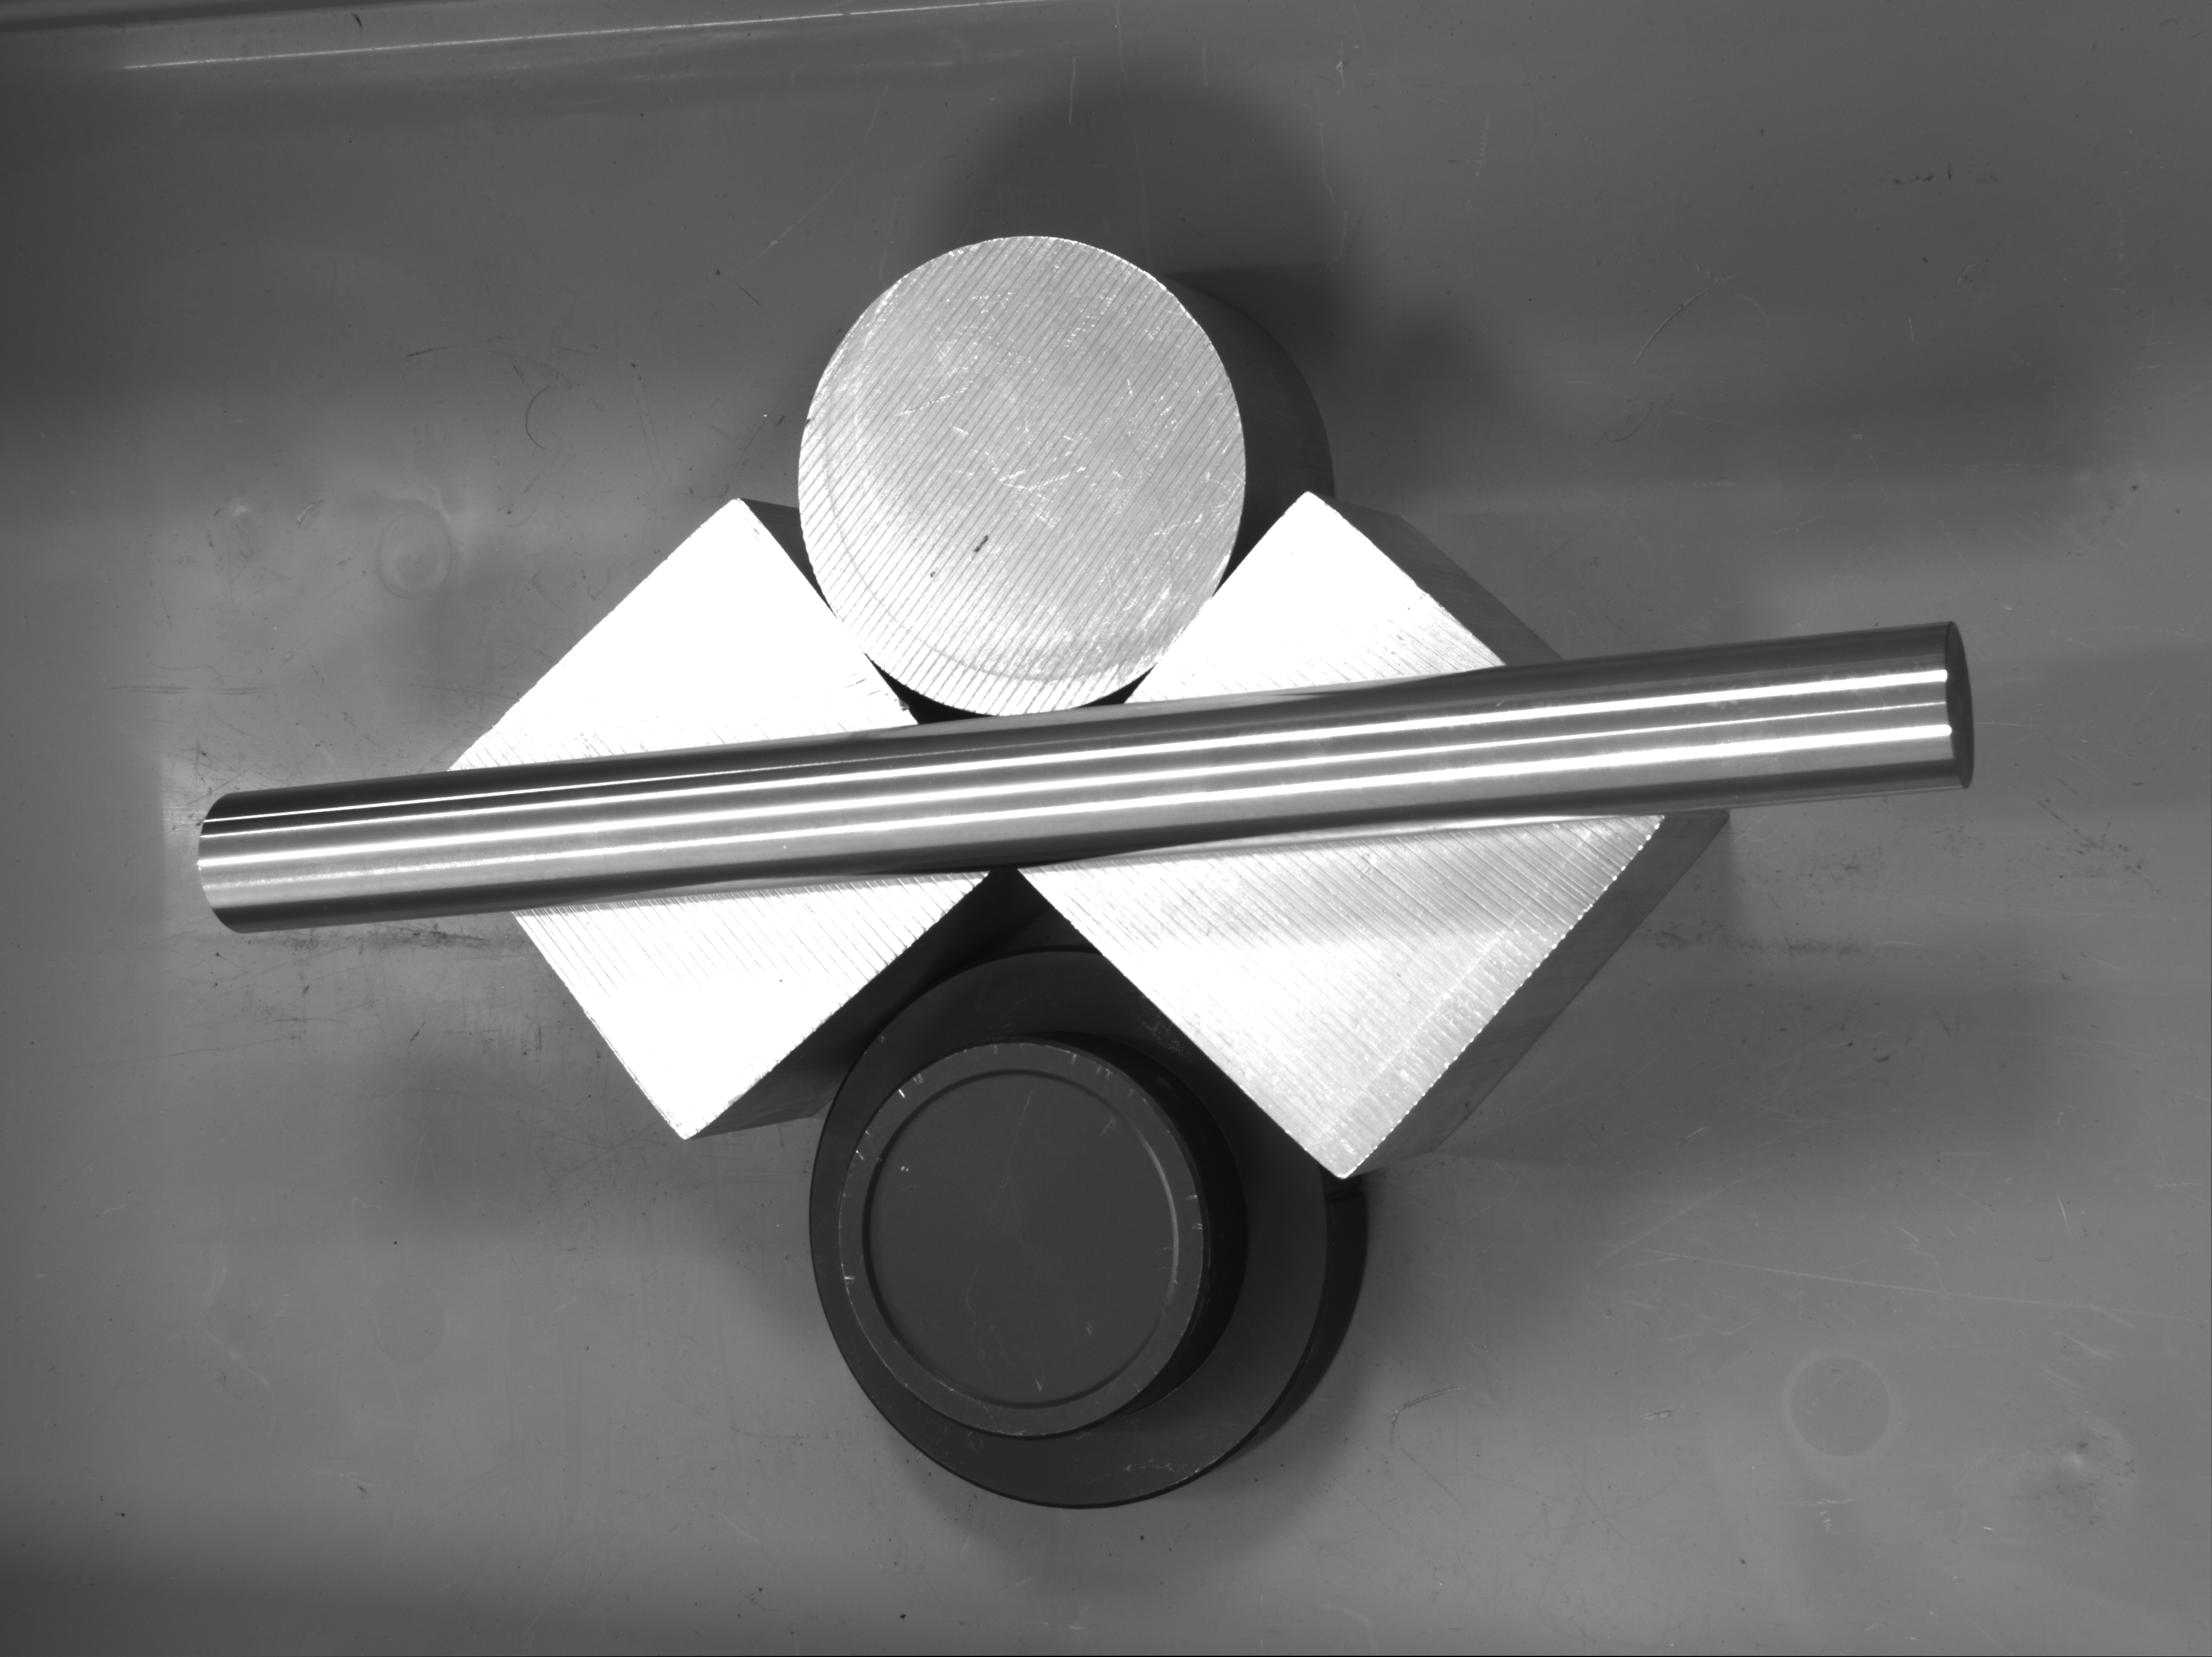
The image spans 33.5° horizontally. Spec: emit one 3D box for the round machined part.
[{"bbox_3d":[-0.008,0.070,0.639,0.098,0.042,0.098,0,90,20],"label":"round machined part"}]

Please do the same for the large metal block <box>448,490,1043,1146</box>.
[{"bbox_3d":[-0.060,-0.002,0.654,0.080,0.050,0.080,-41,79,15],"label":"large metal block"}]

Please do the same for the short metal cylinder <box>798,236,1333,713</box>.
[{"bbox_3d":[-0.006,-0.059,0.634,0.080,0.050,0.080,0,90,20],"label":"short metal cylinder"}]

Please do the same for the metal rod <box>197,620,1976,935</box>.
[{"bbox_3d":[-0.013,-0.006,0.595,0.299,0.025,0.025,-5,88,21],"label":"metal rod"}]

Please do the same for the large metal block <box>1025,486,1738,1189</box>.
[{"bbox_3d":[0.044,0.001,0.613,0.080,0.050,0.080,44,105,15],"label":"large metal block"}]
